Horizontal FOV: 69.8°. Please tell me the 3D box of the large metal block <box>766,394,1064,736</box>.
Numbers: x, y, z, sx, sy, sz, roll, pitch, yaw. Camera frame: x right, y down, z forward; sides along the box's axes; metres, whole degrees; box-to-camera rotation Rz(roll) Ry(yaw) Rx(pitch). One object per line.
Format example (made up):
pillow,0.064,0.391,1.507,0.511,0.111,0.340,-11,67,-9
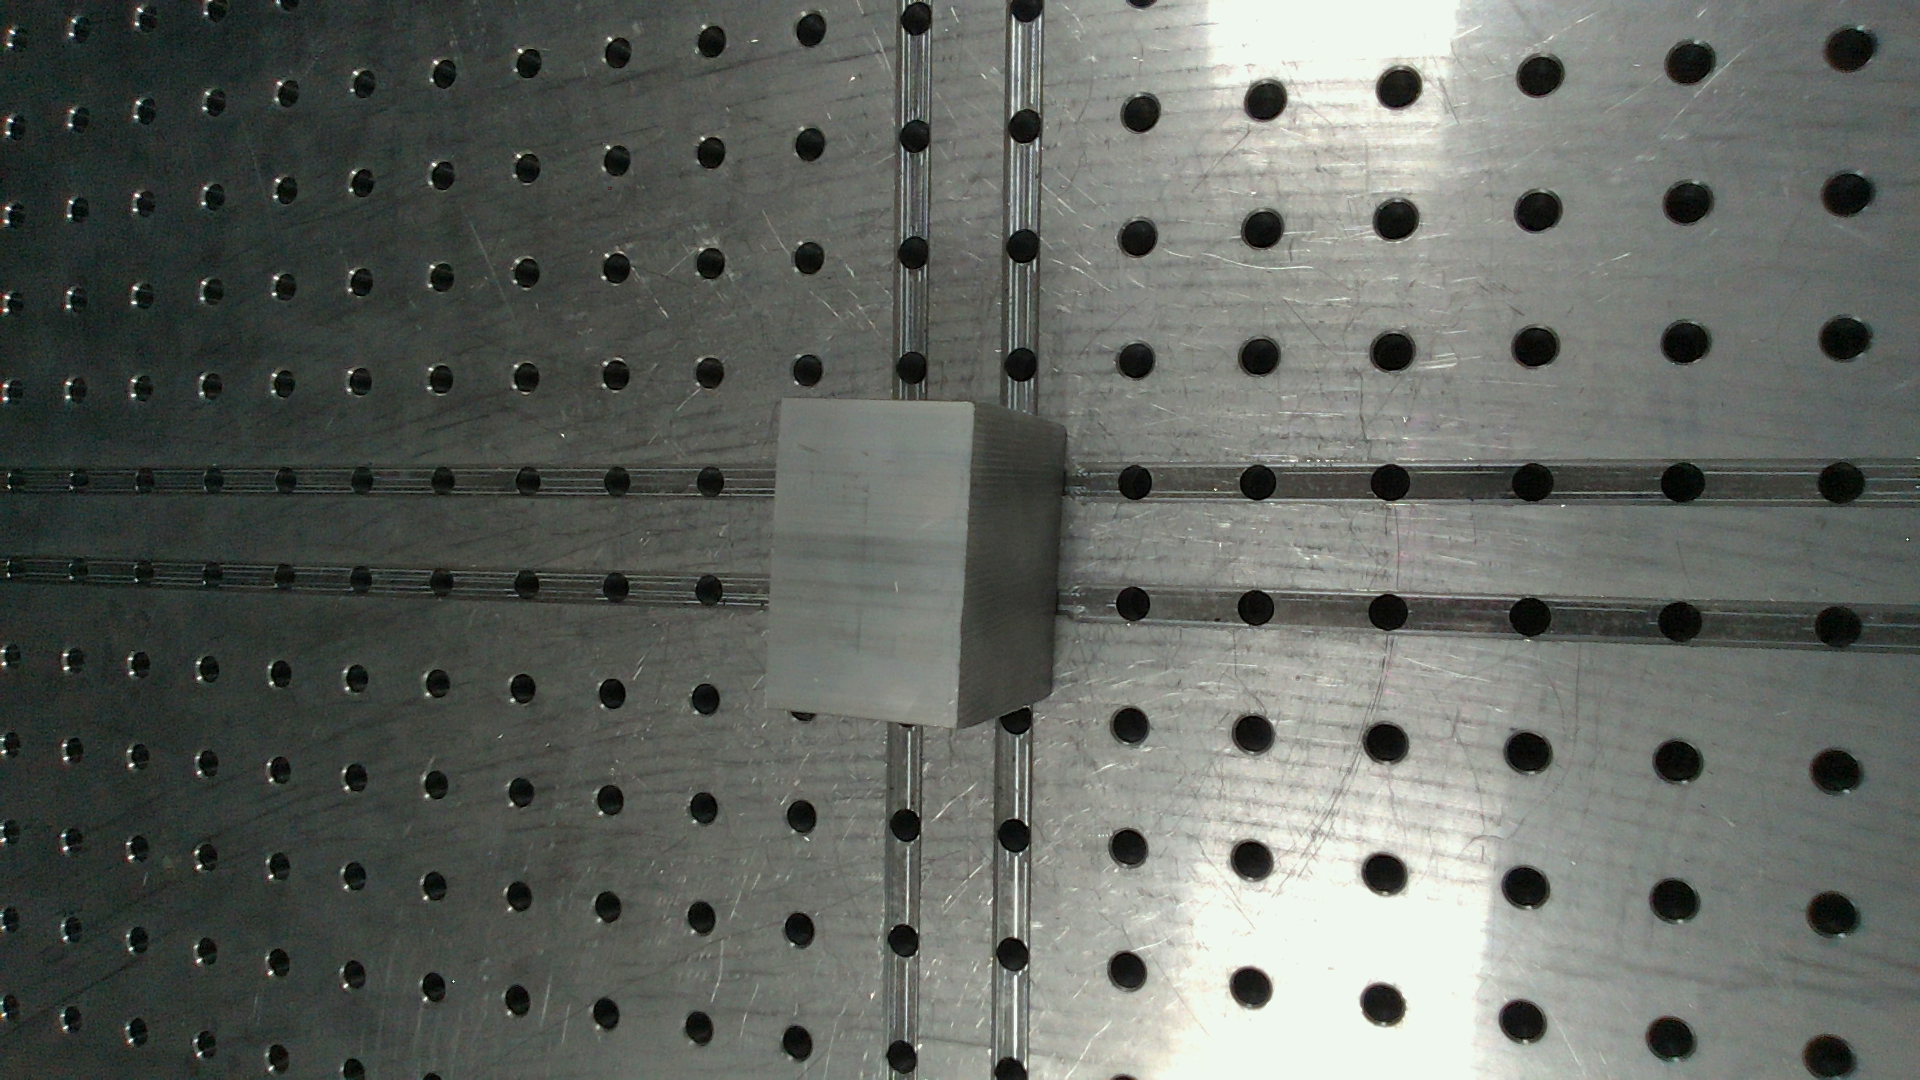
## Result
large metal block,-0.009,0.005,0.372,0.050,0.080,0.080,3,91,20
